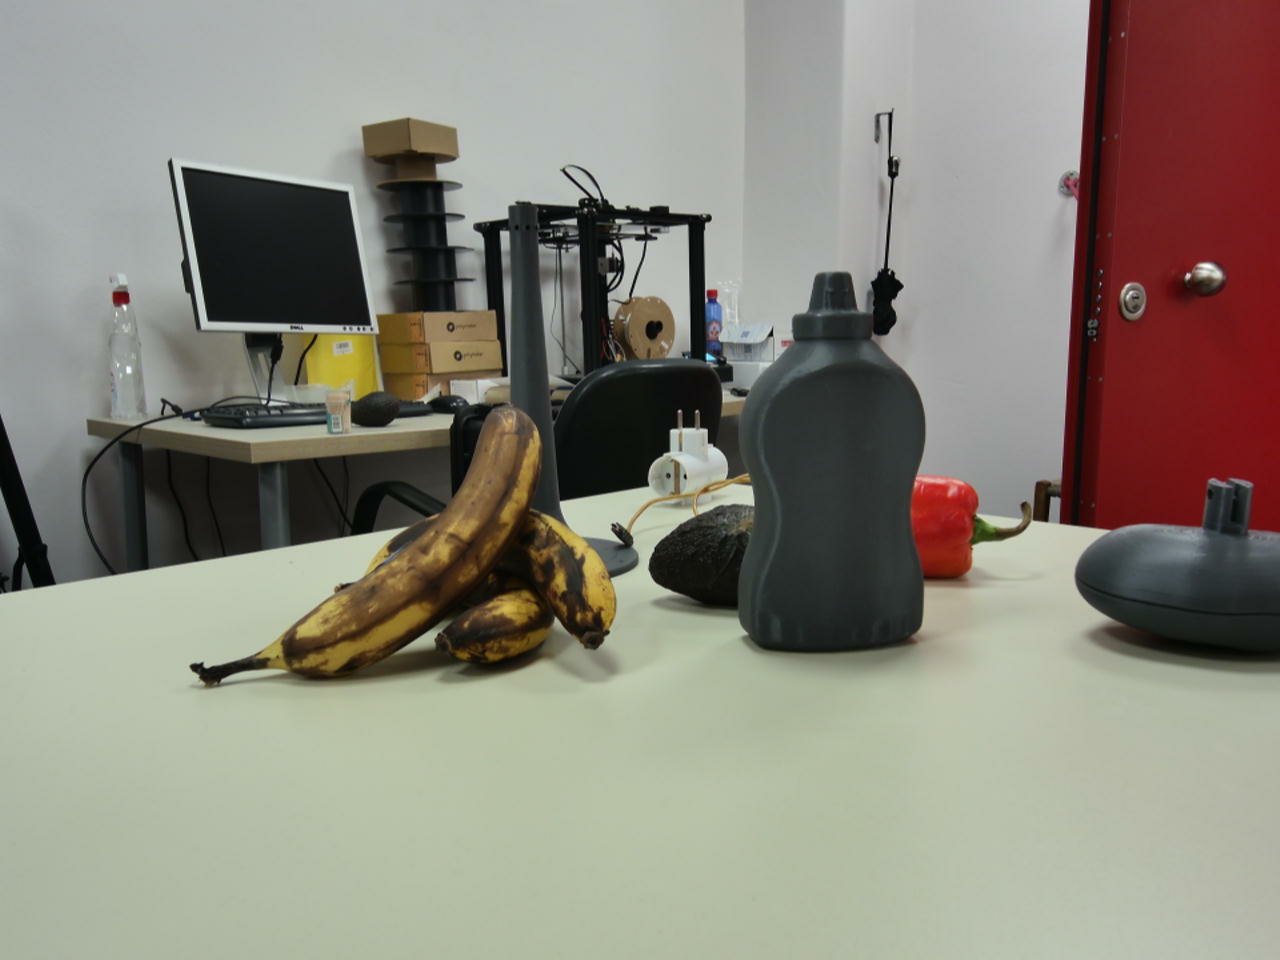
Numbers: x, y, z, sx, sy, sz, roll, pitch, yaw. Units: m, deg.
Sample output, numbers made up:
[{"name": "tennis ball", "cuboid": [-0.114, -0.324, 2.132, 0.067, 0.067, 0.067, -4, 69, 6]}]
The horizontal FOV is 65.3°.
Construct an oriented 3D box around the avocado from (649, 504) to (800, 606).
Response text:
[{"name": "avocado", "cuboid": [0.053, 0.045, 0.619, 0.092, 0.062, 0.062, 4, 7, 23]}]
